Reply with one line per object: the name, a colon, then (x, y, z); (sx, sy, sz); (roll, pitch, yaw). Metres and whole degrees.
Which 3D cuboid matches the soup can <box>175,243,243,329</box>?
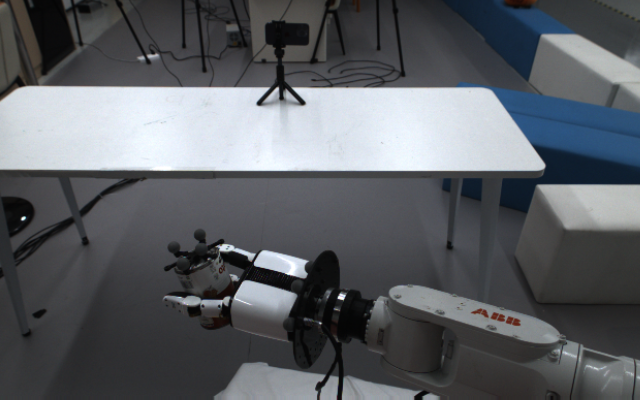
soup can: (-0.158, 0.127, 0.696); (0.067, 0.101, 0.067); (-16, 23, 7)
